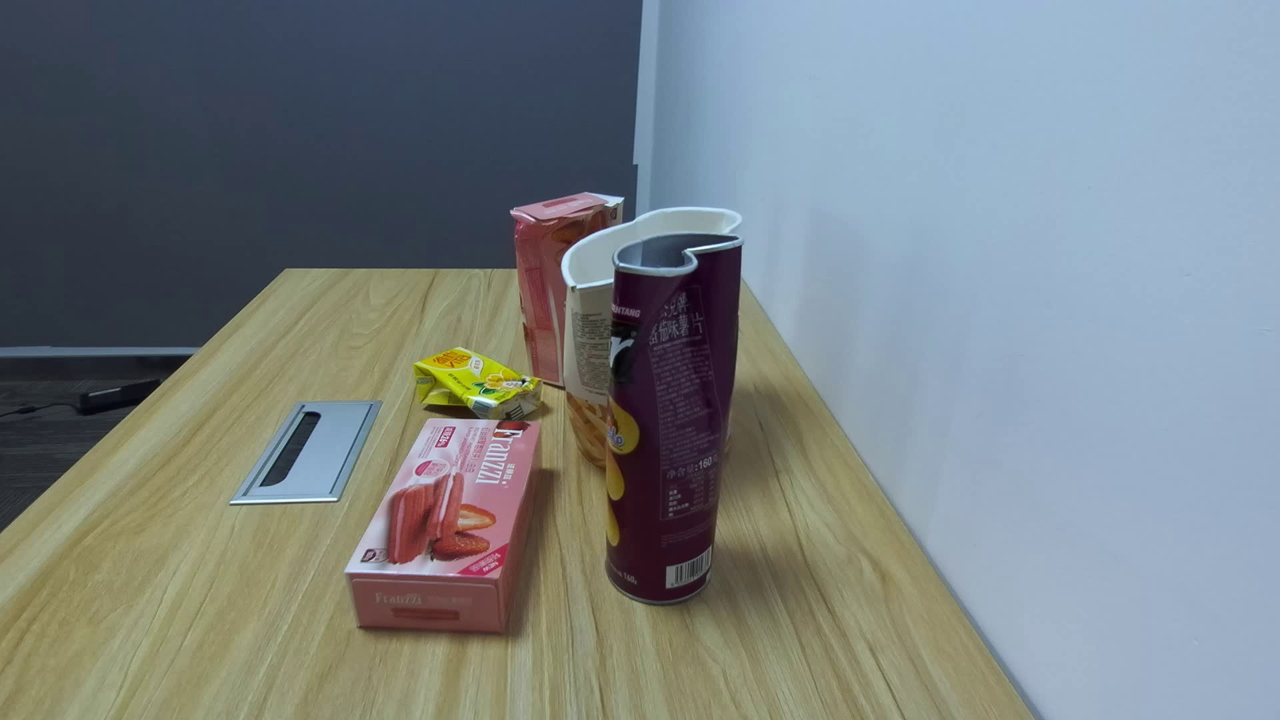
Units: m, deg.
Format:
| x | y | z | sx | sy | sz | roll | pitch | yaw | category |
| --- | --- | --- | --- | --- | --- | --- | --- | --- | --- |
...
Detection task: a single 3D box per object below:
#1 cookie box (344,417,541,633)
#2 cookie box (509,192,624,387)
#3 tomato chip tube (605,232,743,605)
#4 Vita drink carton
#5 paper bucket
| x | y | z | sx | sy | sz | roll | pitch | yaw | category |
| --- | --- | --- | --- | --- | --- | --- | --- | --- | --- |
| -0.132 | 0.110 | 0.516 | 0.096 | 0.048 | 0.184 | 2 | 26 | -1 | cookie box |
| -0.070 | -0.071 | 0.732 | 0.055 | 0.184 | 0.119 | 21 | 33 | 35 | cookie box |
| 0.020 | 0.042 | 0.453 | 0.077 | 0.235 | 0.076 | 5 | 27 | 5 | tomato chip tube |
| -0.156 | 0.029 | 0.686 | 0.108 | 0.042 | 0.087 | 20 | 25 | 24 | Vita drink carton |
| -0.019 | -0.055 | 0.708 | 0.218 | 0.199 | 0.147 | -3 | 22 | -8 | paper bucket |
